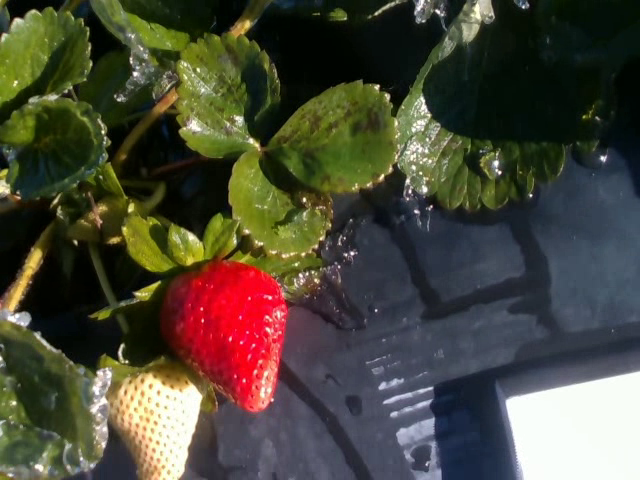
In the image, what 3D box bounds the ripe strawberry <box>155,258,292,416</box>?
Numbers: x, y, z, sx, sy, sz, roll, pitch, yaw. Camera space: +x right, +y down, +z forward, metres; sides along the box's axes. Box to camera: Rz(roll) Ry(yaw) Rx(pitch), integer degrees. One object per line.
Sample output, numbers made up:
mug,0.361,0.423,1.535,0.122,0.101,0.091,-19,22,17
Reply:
ripe strawberry,-0.027,0.037,0.223,0.043,0.061,0.046,-27,-35,12
